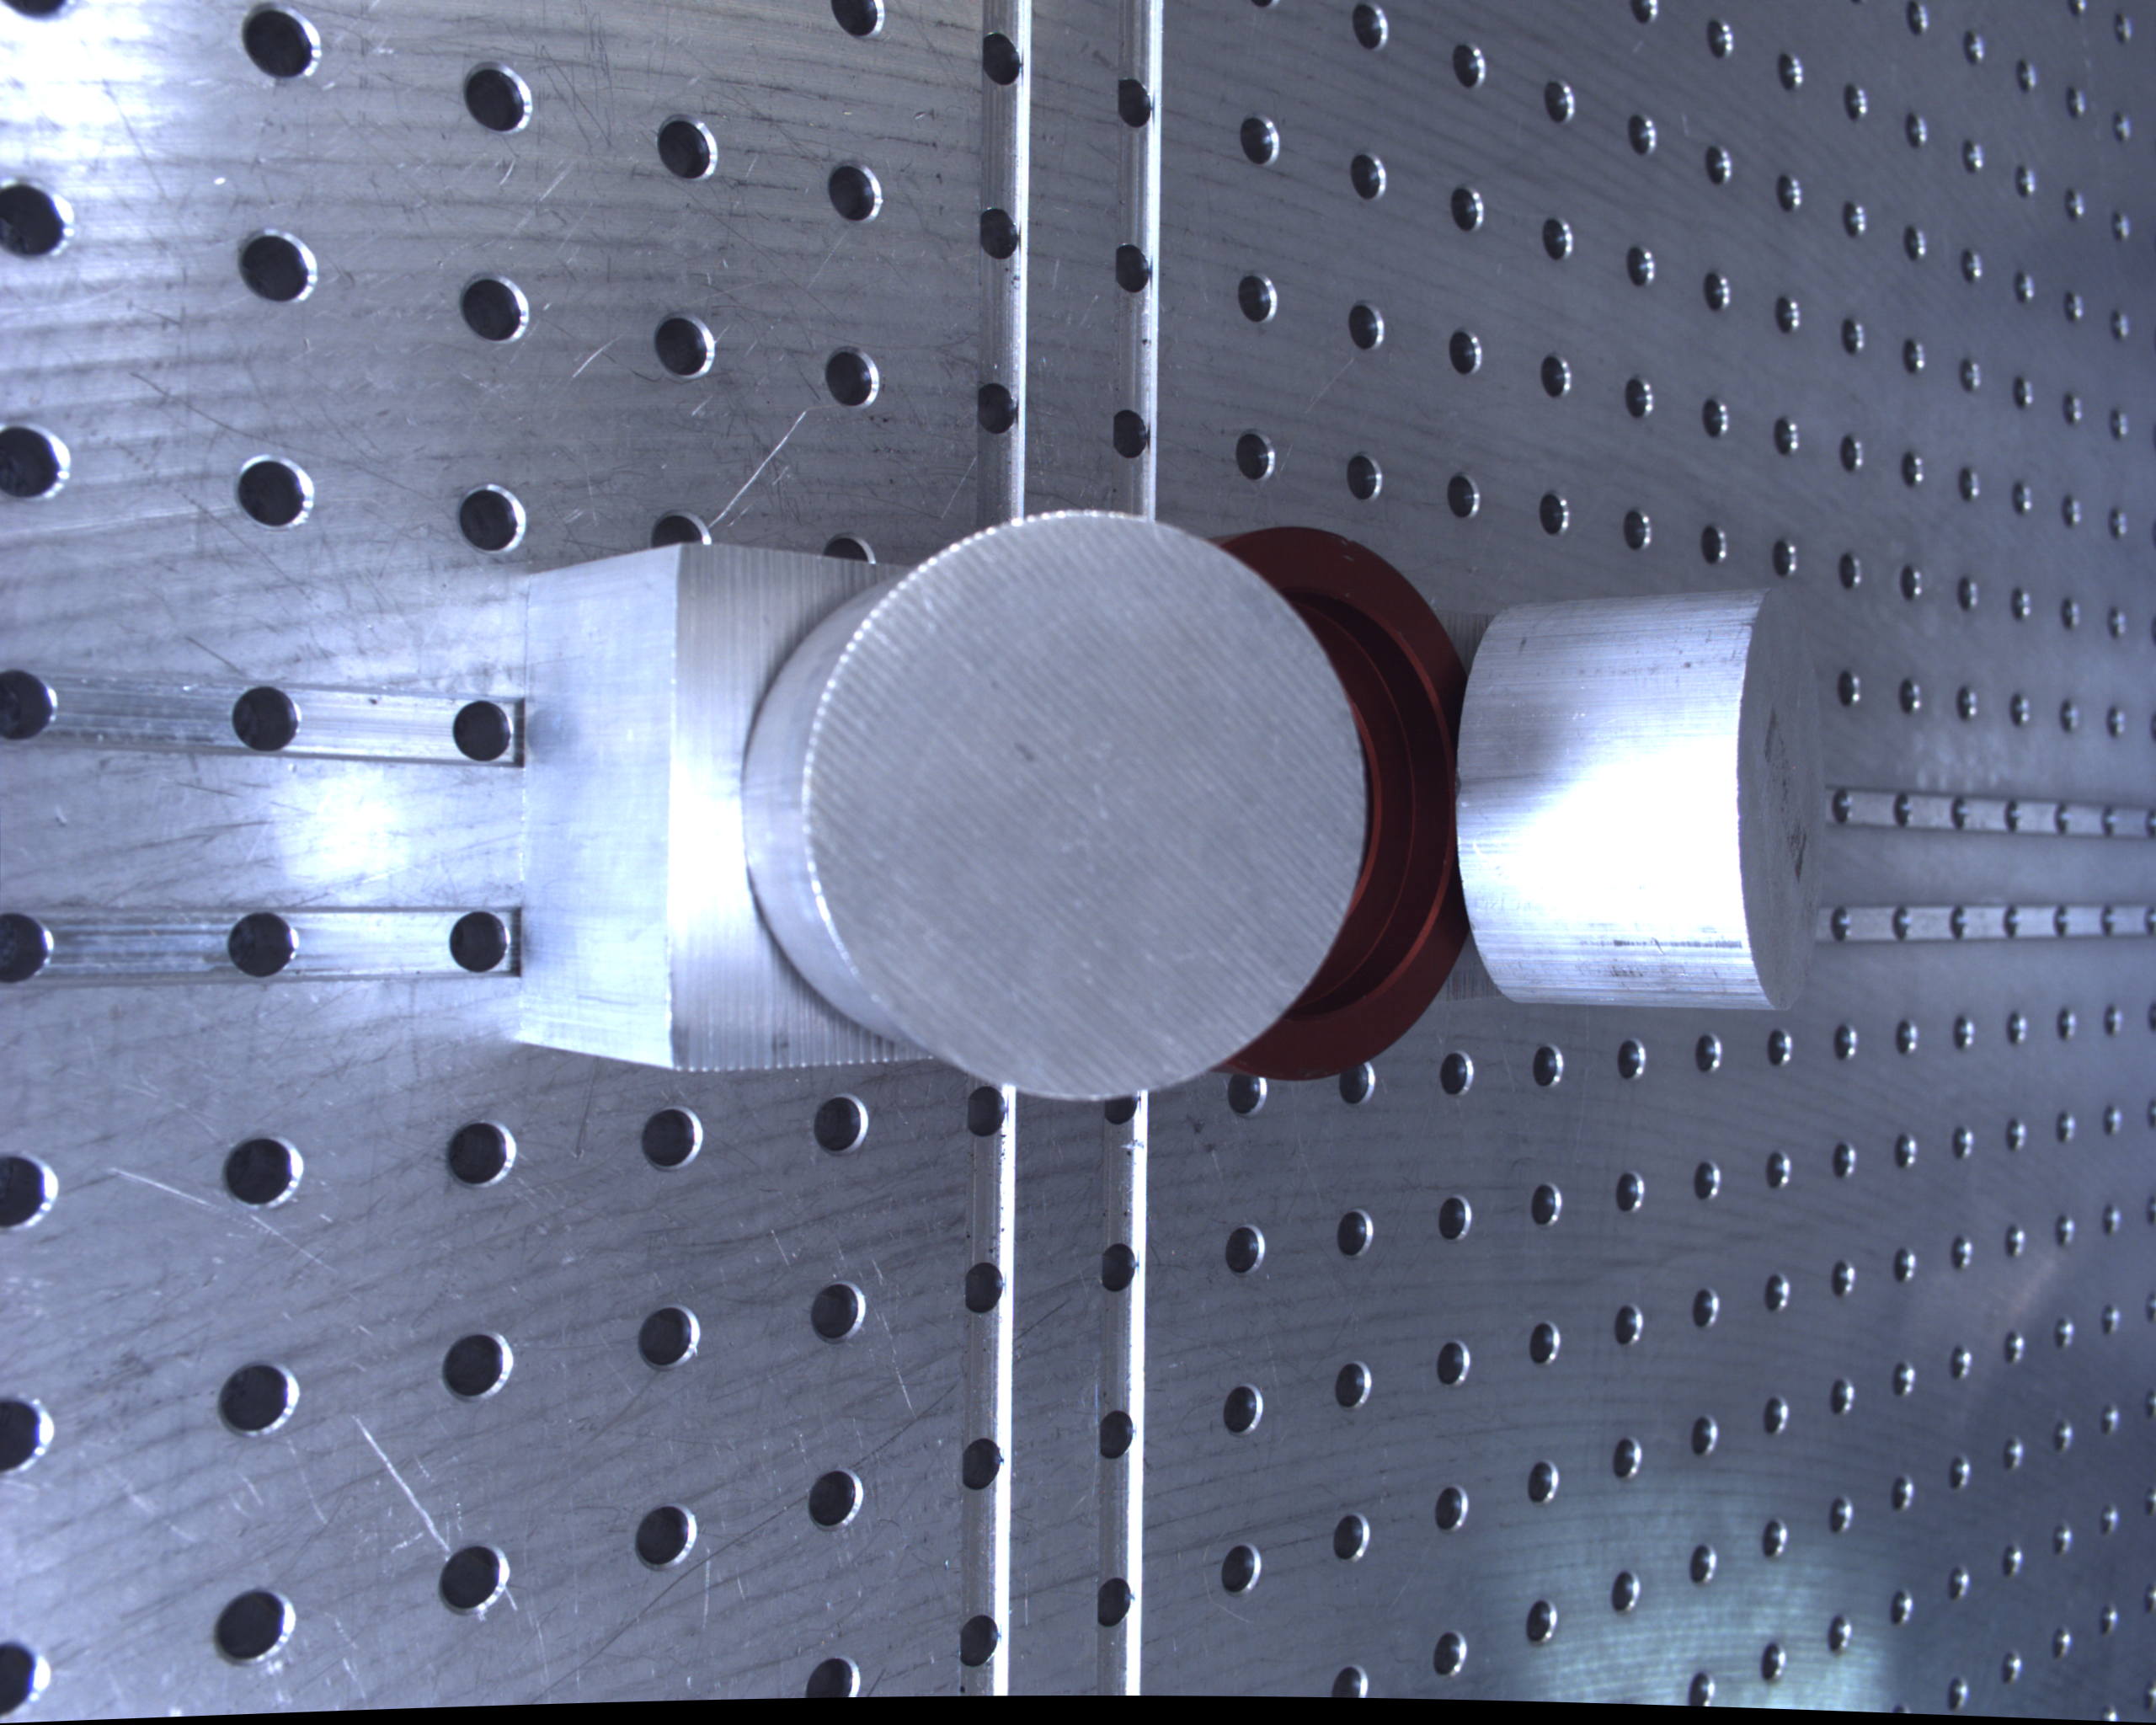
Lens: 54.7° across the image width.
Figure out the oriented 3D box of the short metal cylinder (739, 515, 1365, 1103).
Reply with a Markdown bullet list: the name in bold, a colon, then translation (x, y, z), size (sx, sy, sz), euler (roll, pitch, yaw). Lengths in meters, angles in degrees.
- **short metal cylinder**: translation (-0.006, -0.008, 0.306), size (0.081, 0.050, 0.079), euler (0, 91, -19)

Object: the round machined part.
- **round machined part**: translation (0.028, -0.011, 0.383), size (0.099, 0.042, 0.097), euler (0, 90, -40)

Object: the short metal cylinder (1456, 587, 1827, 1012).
- **short metal cylinder**: translation (0.111, -0.012, 0.404), size (0.080, 0.050, 0.080), euler (1, 89, -60)

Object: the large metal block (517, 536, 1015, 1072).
- **large metal block**: translation (-0.046, -0.008, 0.354), size (0.081, 0.050, 0.080), euler (1, 90, -40)

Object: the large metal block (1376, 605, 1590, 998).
- **large metal block**: translation (0.070, -0.013, 0.451), size (0.081, 0.050, 0.080), euler (-1, 91, -40)
